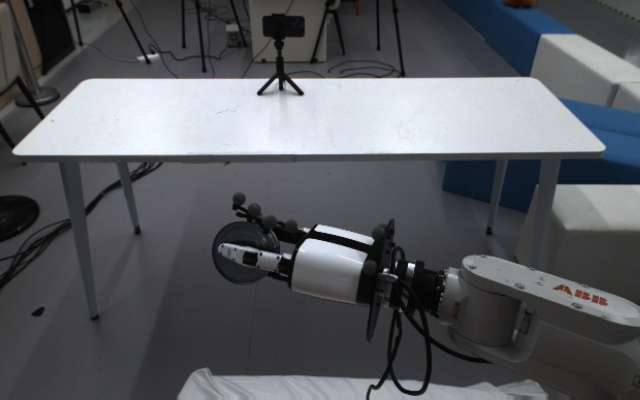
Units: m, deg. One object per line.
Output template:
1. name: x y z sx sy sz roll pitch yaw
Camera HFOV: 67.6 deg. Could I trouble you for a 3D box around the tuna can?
1. tuna can: -0.096 0.069 0.648 0.085 0.085 0.034 10 4 11
